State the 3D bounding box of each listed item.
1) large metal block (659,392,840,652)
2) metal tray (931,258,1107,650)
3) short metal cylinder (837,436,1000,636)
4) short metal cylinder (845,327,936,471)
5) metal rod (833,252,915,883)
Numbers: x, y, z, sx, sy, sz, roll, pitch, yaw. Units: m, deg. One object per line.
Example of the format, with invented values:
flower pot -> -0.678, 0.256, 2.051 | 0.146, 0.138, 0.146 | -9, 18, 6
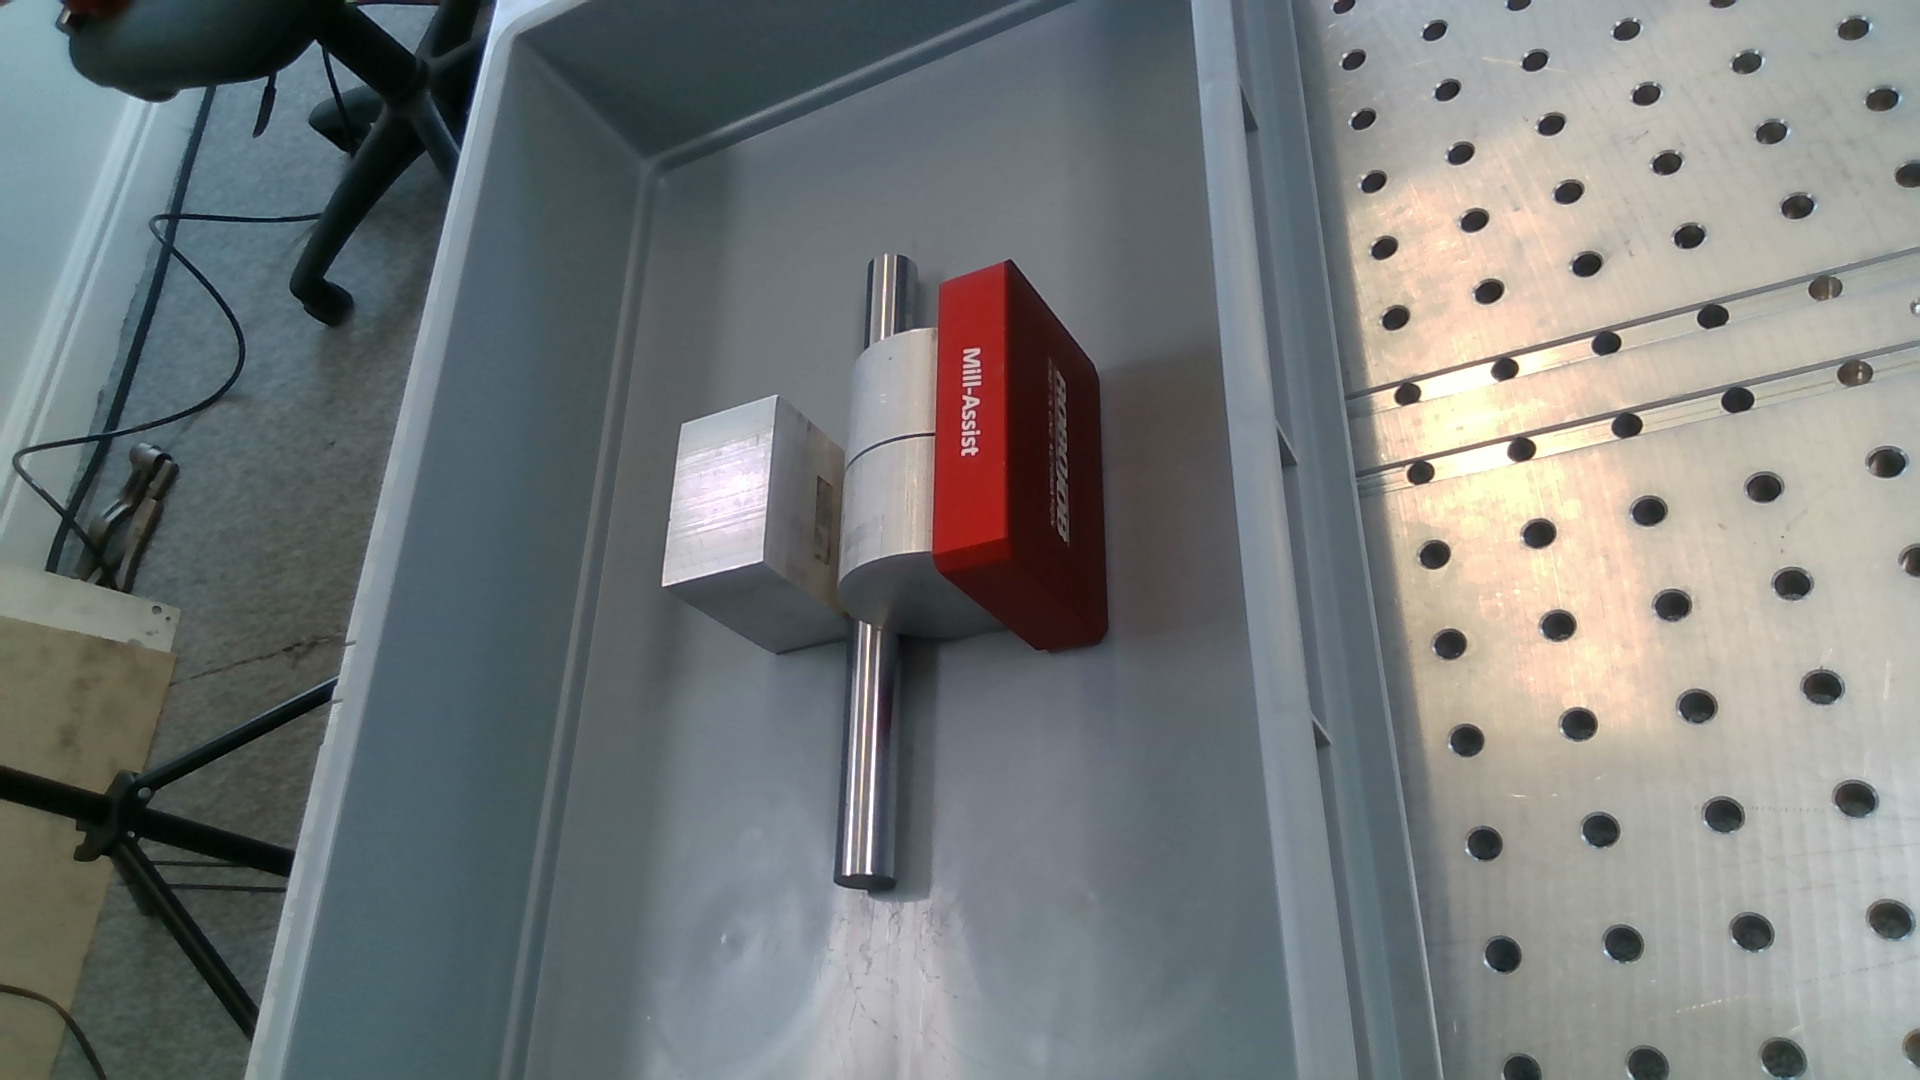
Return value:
large metal block -> -0.082, -0.005, 0.601 | 0.050, 0.080, 0.080 | -14, 59, 25
metal tray -> 0.025, -0.033, 0.544 | 0.030, 0.090, 0.130 | -13, 59, 25
short metal cylinder -> -0.008, 0.001, 0.555 | 0.080, 0.080, 0.050 | -13, 59, 26
short metal cylinder -> -0.008, -0.045, 0.579 | 0.080, 0.080, 0.050 | -14, 59, 25
metal rod -> -0.035, 0.000, 0.606 | 0.025, 0.025, 0.299 | -14, 59, 25
